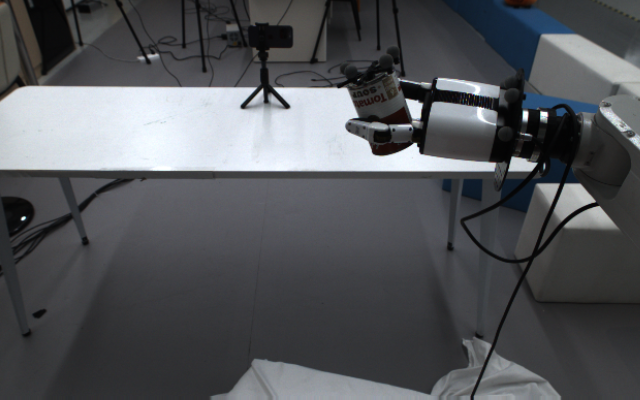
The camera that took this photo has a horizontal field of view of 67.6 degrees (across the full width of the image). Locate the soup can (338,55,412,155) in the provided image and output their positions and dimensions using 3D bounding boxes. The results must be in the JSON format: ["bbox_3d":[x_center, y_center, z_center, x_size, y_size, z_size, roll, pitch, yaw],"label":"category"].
[{"bbox_3d":[0.086,-0.121,0.655,0.067,0.101,0.067,-22,24,10],"label":"soup can"}]
